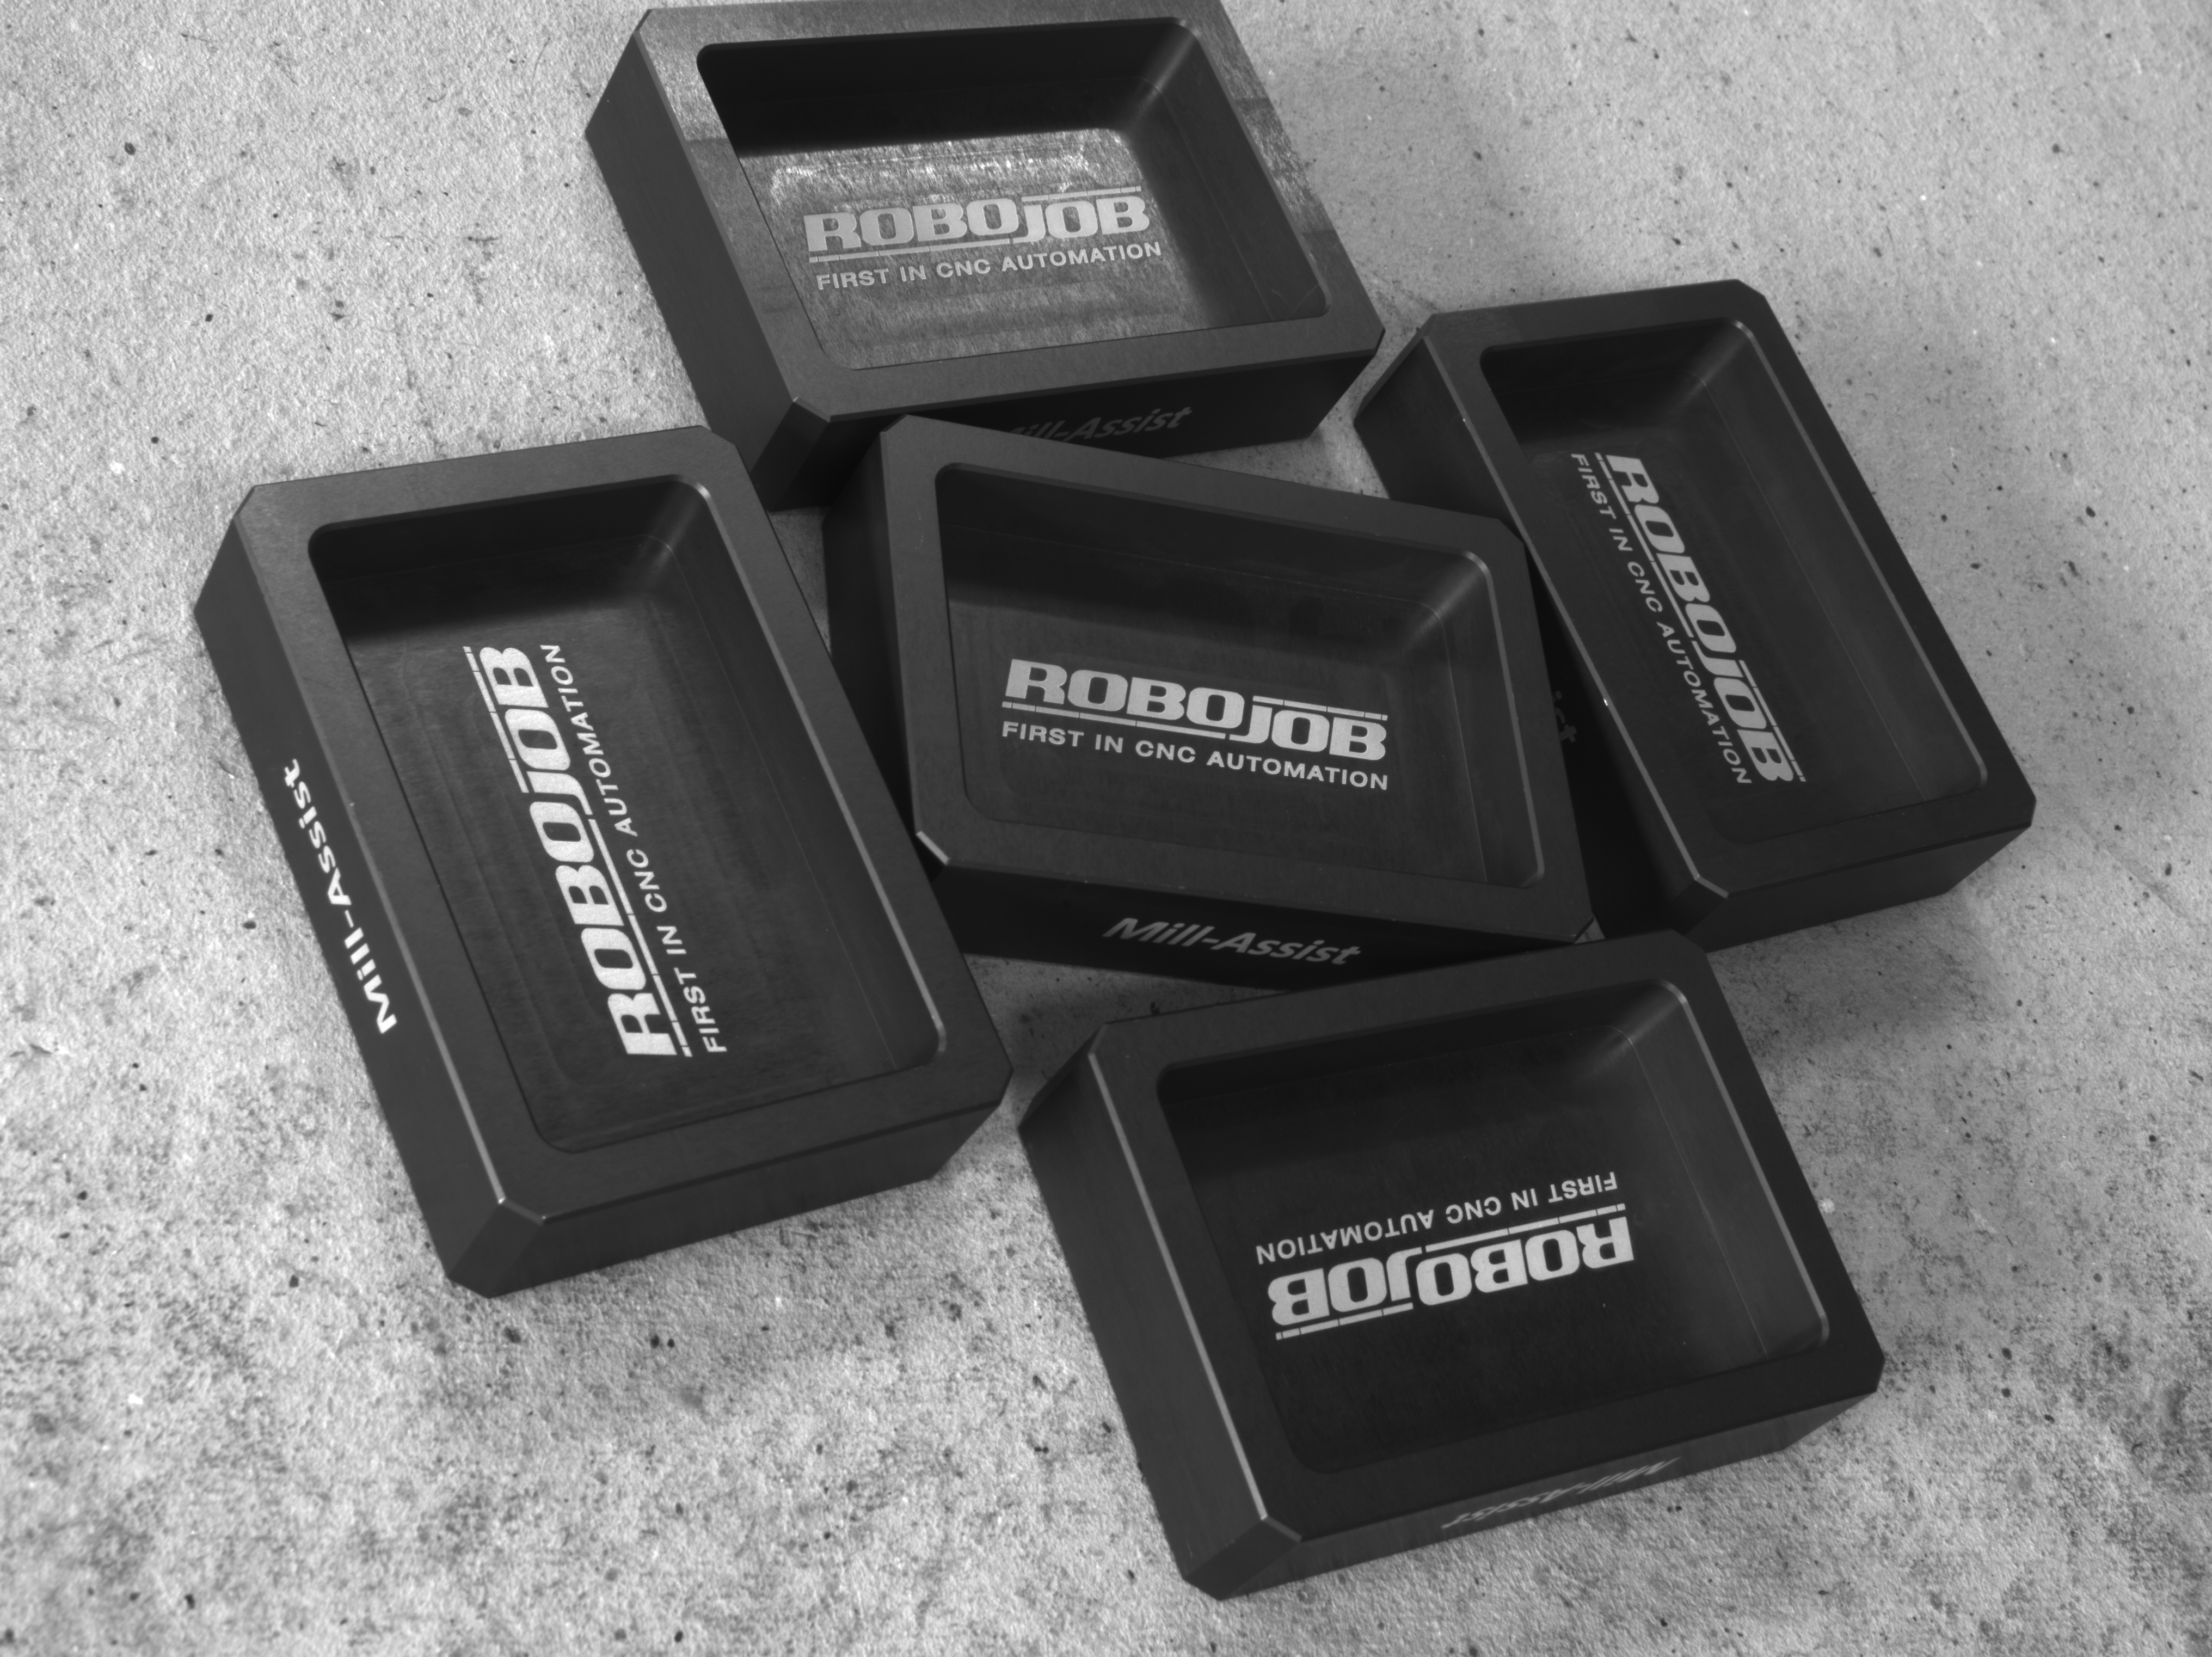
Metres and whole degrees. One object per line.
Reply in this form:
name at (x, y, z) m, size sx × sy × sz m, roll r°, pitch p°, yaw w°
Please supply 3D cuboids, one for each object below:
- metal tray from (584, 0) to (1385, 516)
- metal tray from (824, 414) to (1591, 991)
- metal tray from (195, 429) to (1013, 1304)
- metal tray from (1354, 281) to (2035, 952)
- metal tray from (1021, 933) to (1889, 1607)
metal tray at (-0.022, -0.111, 0.694) m, size 0.130 × 0.030 × 0.090 m, roll -12°, pitch 68°, yaw -32°
metal tray at (0.018, -0.019, 0.658) m, size 0.130 × 0.030 × 0.090 m, roll 7°, pitch 60°, yaw -24°
metal tray at (-0.081, 0.002, 0.592) m, size 0.090 × 0.030 × 0.130 m, roll -12°, pitch 68°, yaw -33°
metal tray at (0.115, -0.042, 0.725) m, size 0.090 × 0.030 × 0.130 m, roll -12°, pitch 68°, yaw -32°
metal tray at (0.060, 0.072, 0.625) m, size 0.130 × 0.030 × 0.090 m, roll -8°, pitch 65°, yaw -31°
